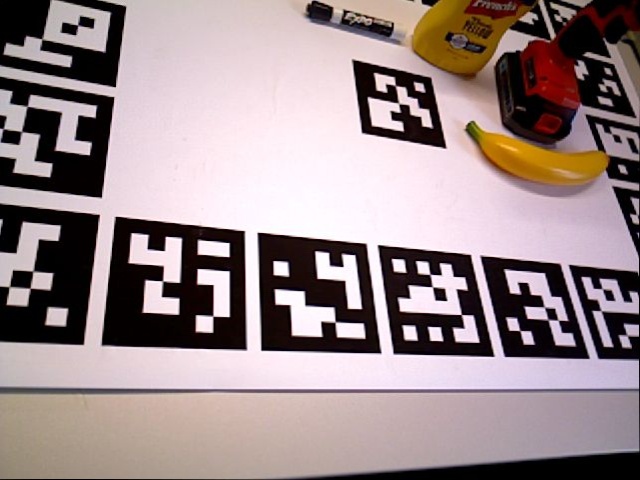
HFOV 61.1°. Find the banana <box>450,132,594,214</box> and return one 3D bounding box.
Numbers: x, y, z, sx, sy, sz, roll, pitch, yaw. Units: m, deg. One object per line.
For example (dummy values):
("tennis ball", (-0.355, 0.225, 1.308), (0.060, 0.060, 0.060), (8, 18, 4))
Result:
("banana", (0.237, -0.067, 0.624), (0.196, 0.040, 0.073), (15, 63, -14))

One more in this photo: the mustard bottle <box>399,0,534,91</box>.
("mustard bottle", (0.172, -0.251, 0.589), (0.095, 0.196, 0.057), (18, 59, -15))

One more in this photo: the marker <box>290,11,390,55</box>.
("marker", (0.023, -0.239, 0.626), (0.120, 0.020, 0.019), (10, 63, -18))

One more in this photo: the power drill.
("power drill", (0.278, -0.186, 0.583), (0.057, 0.191, 0.181), (20, 57, -15))
